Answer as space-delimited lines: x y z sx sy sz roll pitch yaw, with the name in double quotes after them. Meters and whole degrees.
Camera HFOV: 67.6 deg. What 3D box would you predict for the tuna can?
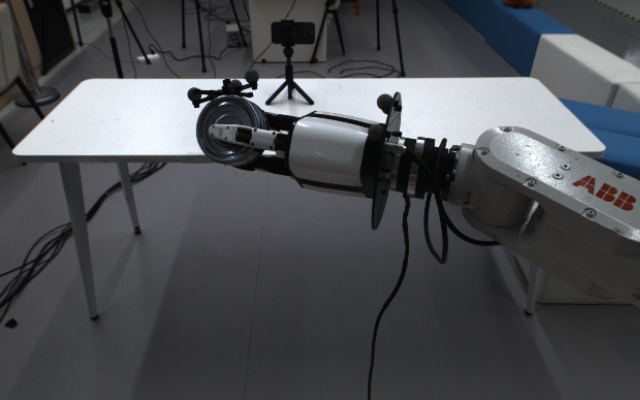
-0.104 -0.079 0.593 0.085 0.085 0.034 12 3 14 "tuna can"
